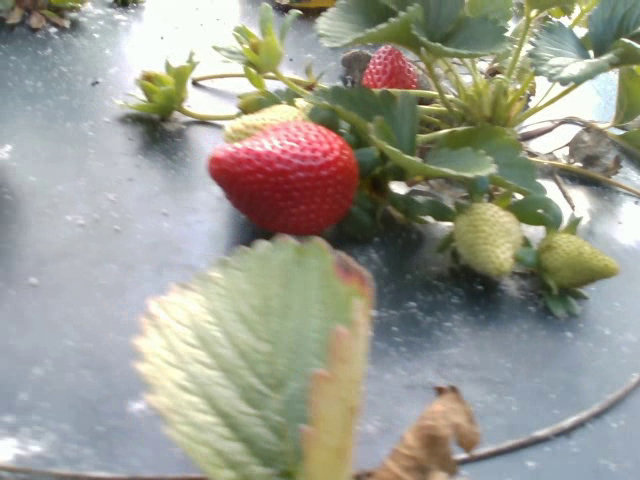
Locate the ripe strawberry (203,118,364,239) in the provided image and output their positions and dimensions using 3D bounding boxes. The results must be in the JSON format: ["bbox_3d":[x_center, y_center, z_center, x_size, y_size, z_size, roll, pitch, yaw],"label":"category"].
[{"bbox_3d":[-0.018,-0.024,0.209,0.051,0.048,0.055,-14,-13,36],"label":"ripe strawberry"}]
